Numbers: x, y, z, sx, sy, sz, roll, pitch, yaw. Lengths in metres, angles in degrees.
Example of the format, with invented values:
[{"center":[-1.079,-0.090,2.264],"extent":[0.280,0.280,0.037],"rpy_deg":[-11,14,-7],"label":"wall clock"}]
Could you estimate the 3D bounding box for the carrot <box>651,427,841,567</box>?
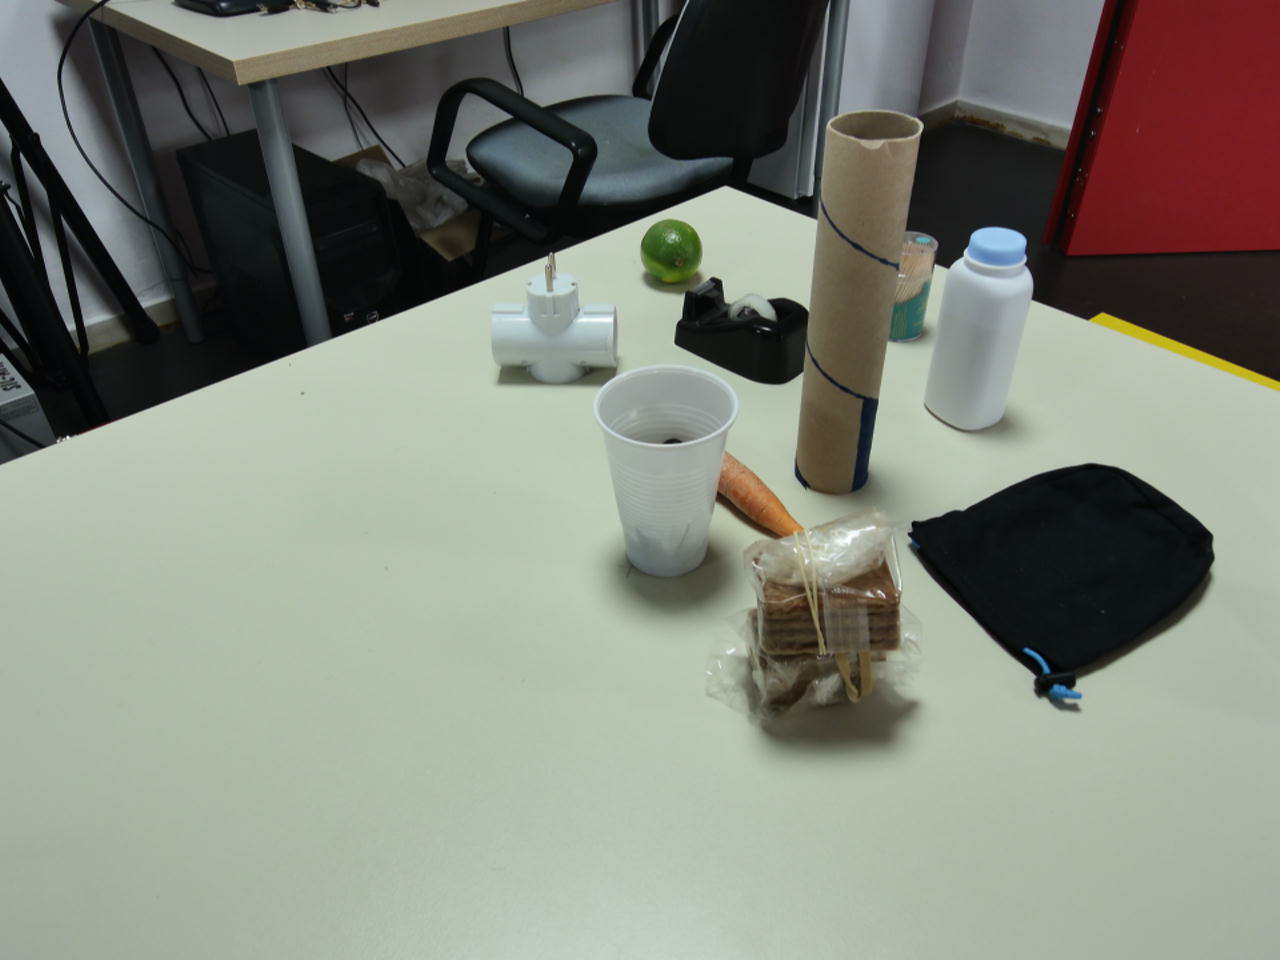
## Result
[{"center":[0.066,0.006,0.628],"extent":[0.031,0.029,0.163],"rpy_deg":[-27,45,-32],"label":"carrot"}]
